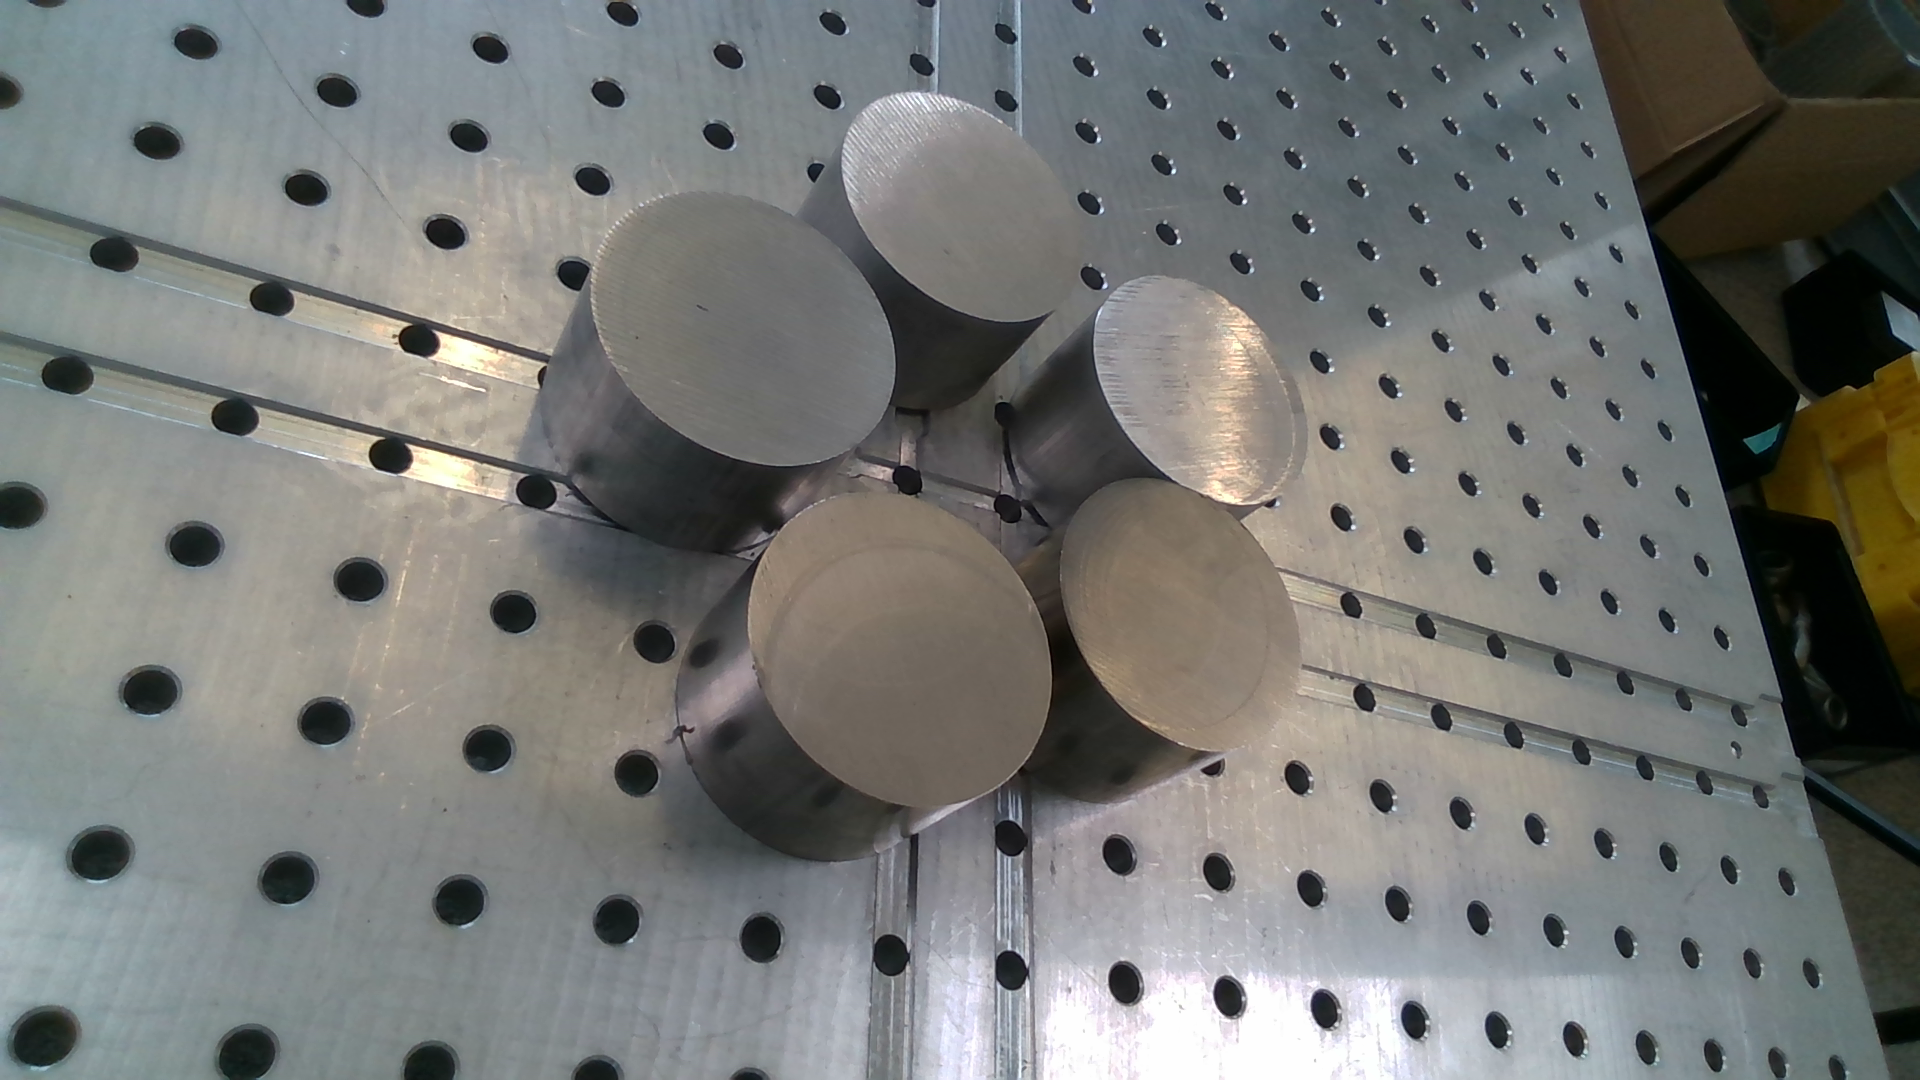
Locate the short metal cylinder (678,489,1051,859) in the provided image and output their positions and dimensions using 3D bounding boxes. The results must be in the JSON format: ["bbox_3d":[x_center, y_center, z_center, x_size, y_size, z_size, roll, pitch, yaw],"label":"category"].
[{"bbox_3d":[-0.024,0.034,0.345,0.080,0.050,0.080,14,59,-24],"label":"short metal cylinder"}]

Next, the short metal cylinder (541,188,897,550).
[{"bbox_3d":[-0.064,-0.044,0.363,0.080,0.050,0.080,15,58,-25],"label":"short metal cylinder"}]

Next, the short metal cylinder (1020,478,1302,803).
[{"bbox_3d":[0.050,0.029,0.393,0.080,0.050,0.080,14,58,-25],"label":"short metal cylinder"}]

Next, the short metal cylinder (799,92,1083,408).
[{"bbox_3d":[-0.010,-0.088,0.420,0.080,0.050,0.080,14,59,-25],"label":"short metal cylinder"}]

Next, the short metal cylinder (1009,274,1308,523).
[{"bbox_3d":[0.063,-0.036,0.437,0.080,0.050,0.080,14,59,-25],"label":"short metal cylinder"}]
